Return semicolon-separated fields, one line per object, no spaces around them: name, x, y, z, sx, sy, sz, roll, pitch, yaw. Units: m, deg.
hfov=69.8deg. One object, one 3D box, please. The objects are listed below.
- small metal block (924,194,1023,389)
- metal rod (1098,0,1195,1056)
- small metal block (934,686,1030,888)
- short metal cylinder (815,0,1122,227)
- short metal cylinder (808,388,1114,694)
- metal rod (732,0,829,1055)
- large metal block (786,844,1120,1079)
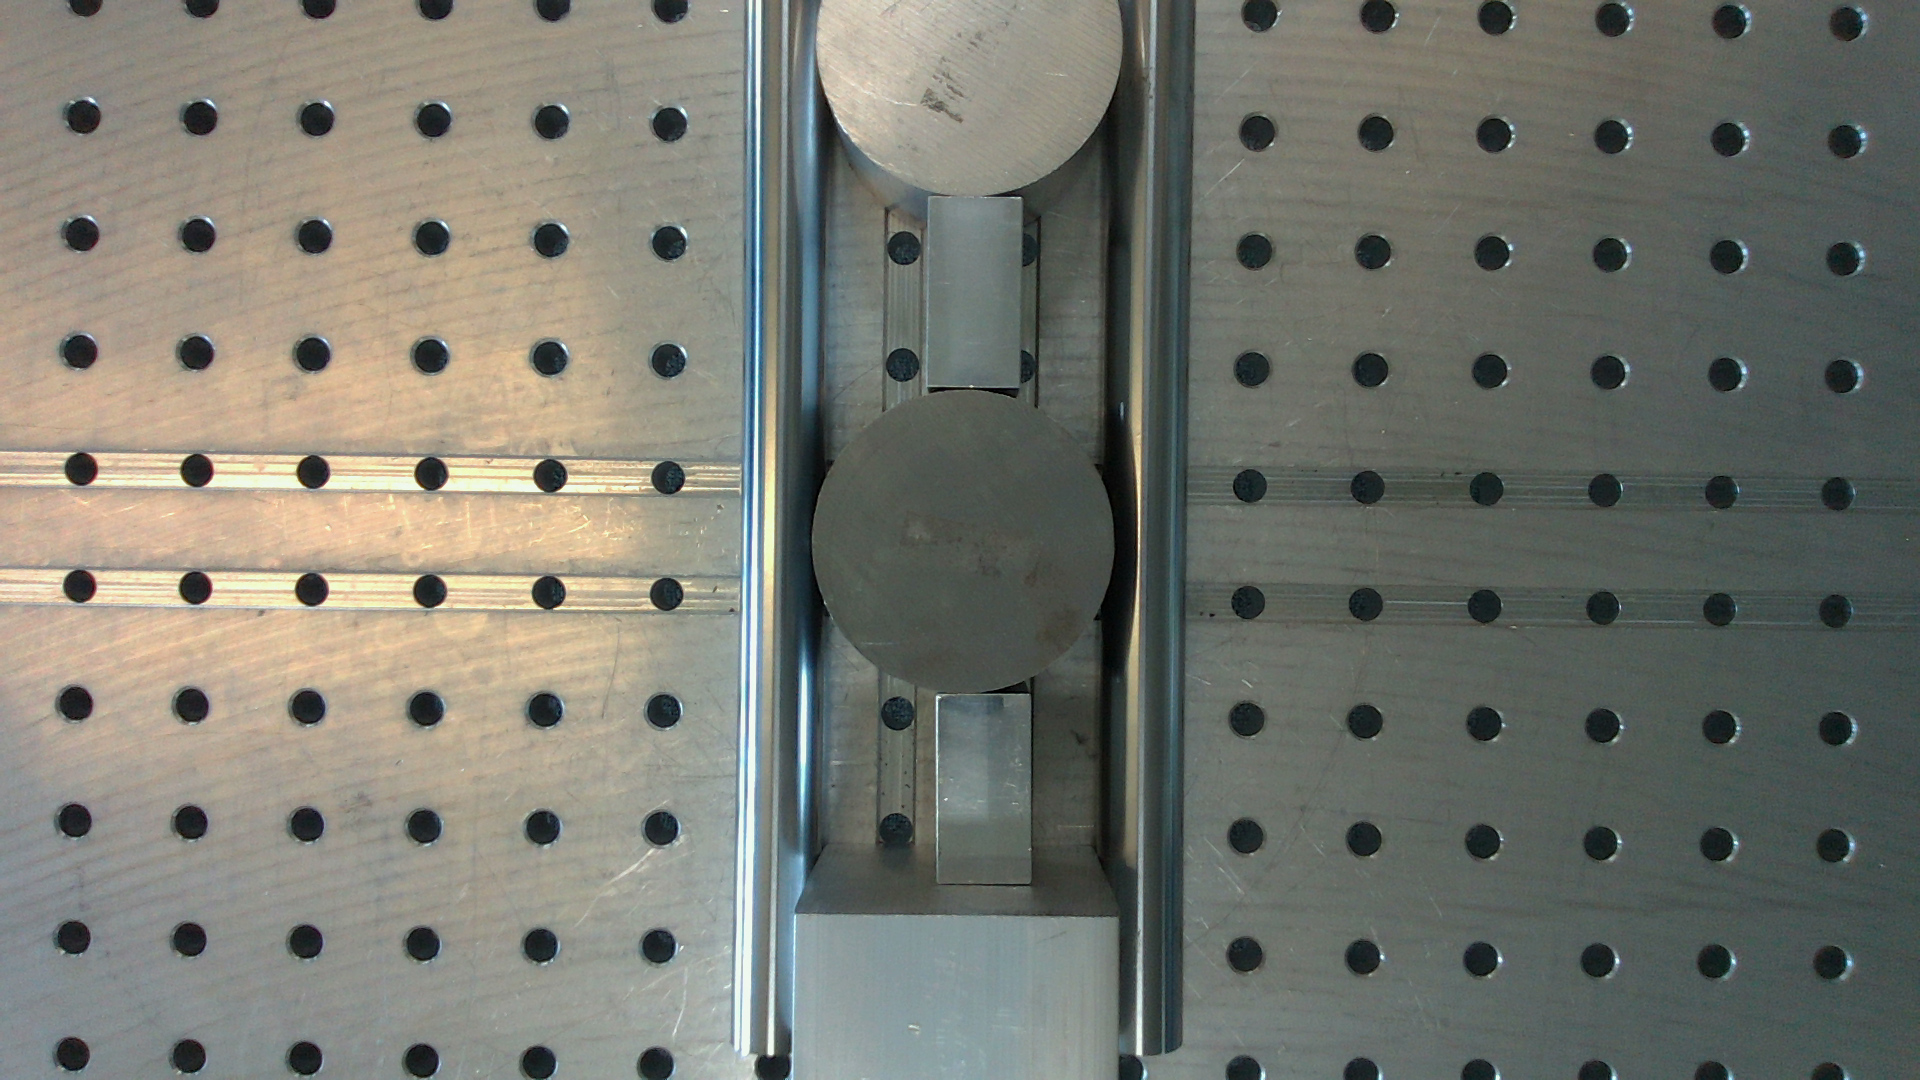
small metal block;0.004;-0.065;0.384;0.025;0.050;0.050;1;90;0
metal rod;0.053;-0.006;0.397;0.025;0.025;0.300;1;90;0
small metal block;0.006;0.066;0.385;0.025;0.050;0.050;0;90;0
short metal cylinder;0.002;-0.130;0.384;0.080;0.050;0.080;0;90;0
short metal cylinder;0.000;0.000;0.385;0.080;0.050;0.080;0;90;0
metal rod;-0.052;-0.006;0.396;0.025;0.025;0.300;1;90;0
large metal block;-0.002;0.116;0.371;0.080;0.080;0.050;1;90;0
